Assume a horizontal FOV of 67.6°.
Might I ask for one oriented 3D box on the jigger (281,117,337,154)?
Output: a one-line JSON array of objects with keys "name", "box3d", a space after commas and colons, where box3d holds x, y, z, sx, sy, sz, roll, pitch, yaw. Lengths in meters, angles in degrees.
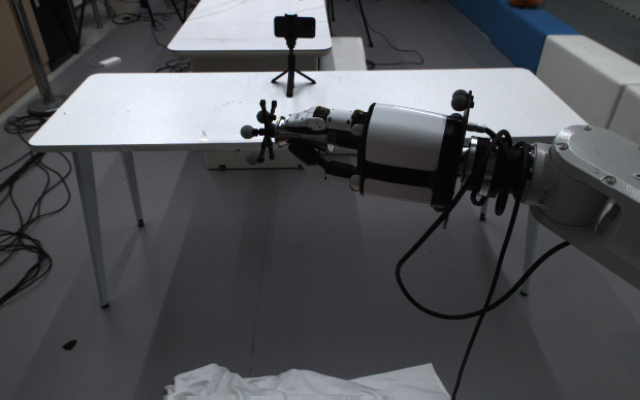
[{"name": "jigger", "box3d": [-0.012, -0.086, 0.603, 0.071, 0.043, 0.043, 8, 35, 14]}]
